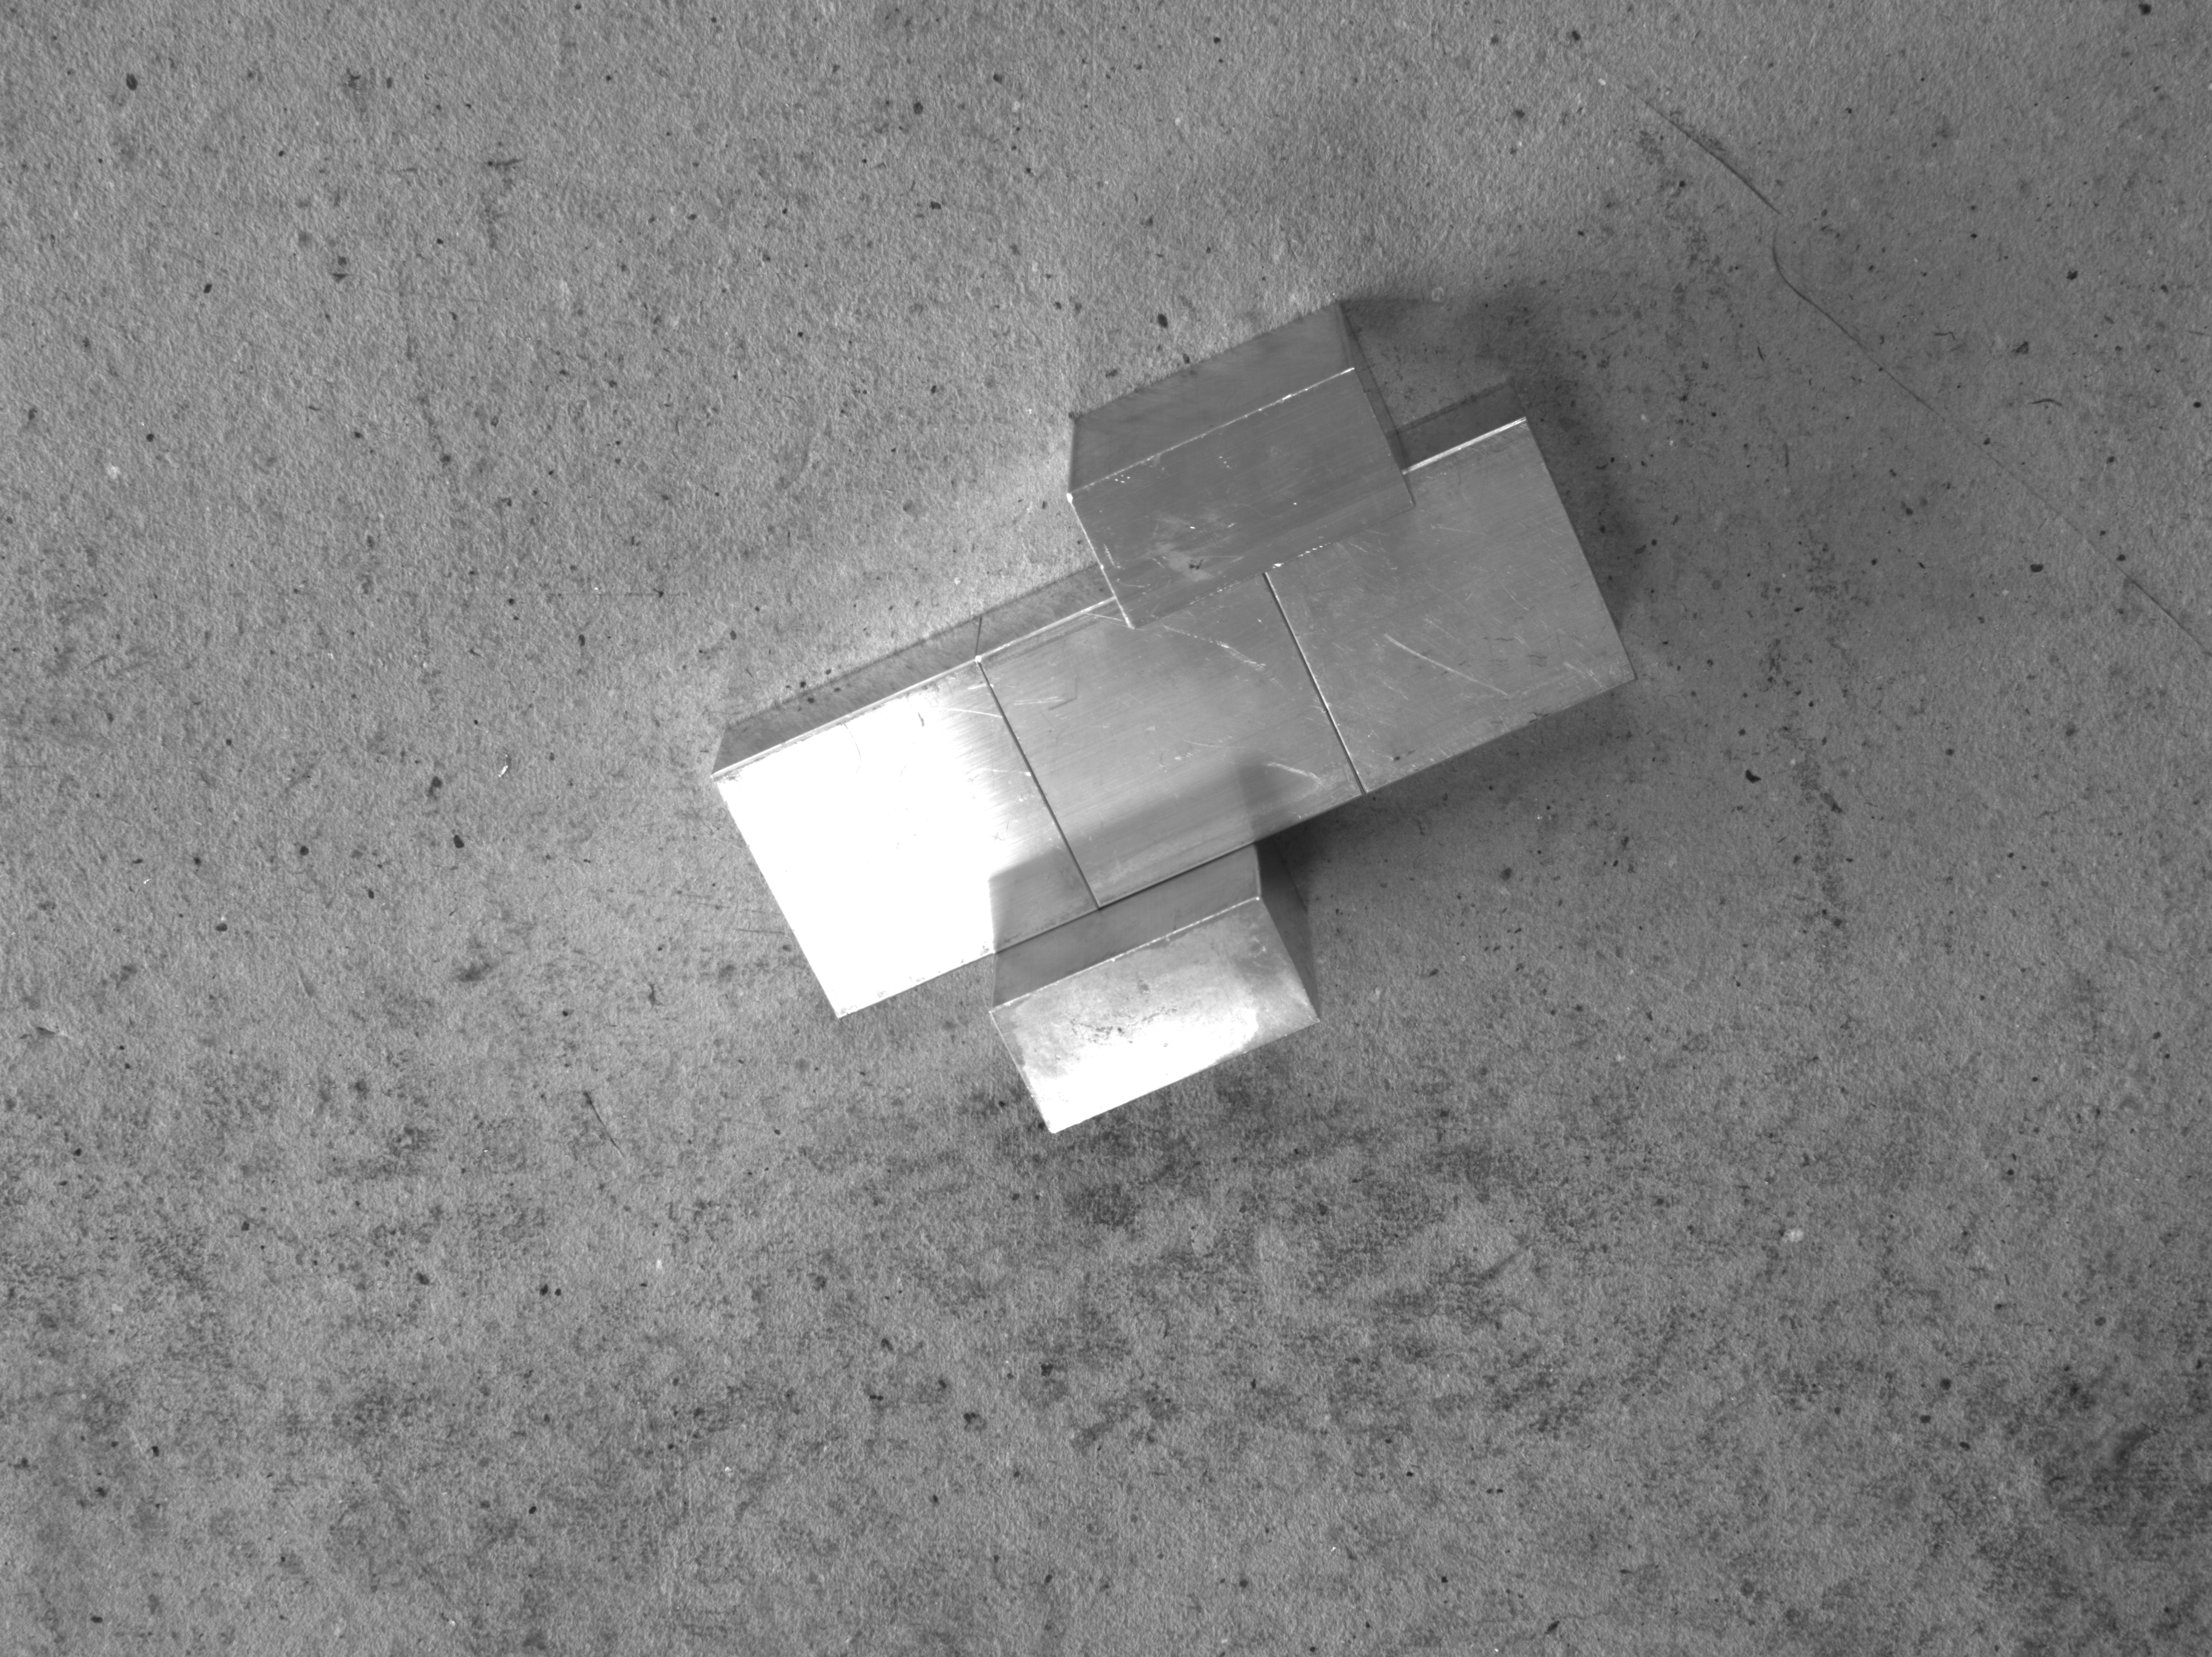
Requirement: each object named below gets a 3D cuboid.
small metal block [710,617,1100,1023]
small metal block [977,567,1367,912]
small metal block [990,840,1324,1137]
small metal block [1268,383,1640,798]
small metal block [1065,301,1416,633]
[{"bbox_3d":[-0.034,-0.001,0.643,0.050,0.025,0.050,-23,109,8],"label":"small metal block"},{"bbox_3d":[0.011,-0.021,0.636,0.050,0.025,0.050,-23,109,8],"label":"small metal block"},{"bbox_3d":[0.009,0.023,0.639,0.050,0.050,0.025,-23,107,9],"label":"small metal block"},{"bbox_3d":[0.057,-0.041,0.629,0.050,0.025,0.050,-23,109,8],"label":"small metal block"},{"bbox_3d":[0.022,-0.060,0.609,0.050,0.050,0.025,-23,108,9],"label":"small metal block"}]
